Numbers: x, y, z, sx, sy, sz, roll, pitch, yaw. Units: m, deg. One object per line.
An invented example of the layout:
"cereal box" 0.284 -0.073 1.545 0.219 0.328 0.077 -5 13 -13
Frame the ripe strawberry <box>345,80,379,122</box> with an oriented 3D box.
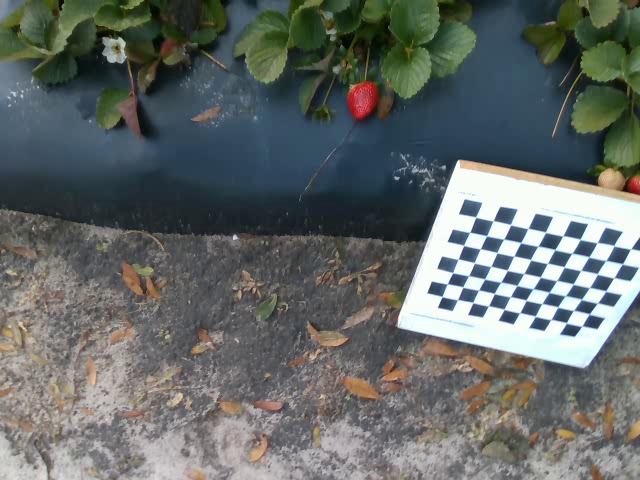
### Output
"ripe strawberry" 0.055 -0.188 0.747 0.050 0.053 0.049 5 -37 1
